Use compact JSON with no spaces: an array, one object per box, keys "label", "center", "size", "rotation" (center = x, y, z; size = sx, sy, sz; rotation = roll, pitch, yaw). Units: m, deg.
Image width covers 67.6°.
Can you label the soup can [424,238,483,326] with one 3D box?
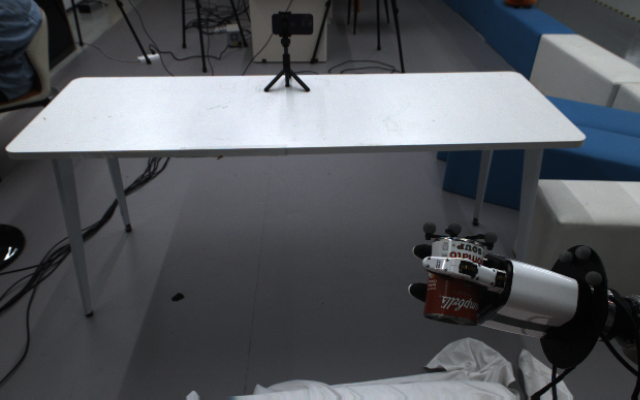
[{"label":"soup can","center":[0.175,0.105,0.624],"size":[0.067,0.067,0.101],"rotation":[8,71,9]}]
